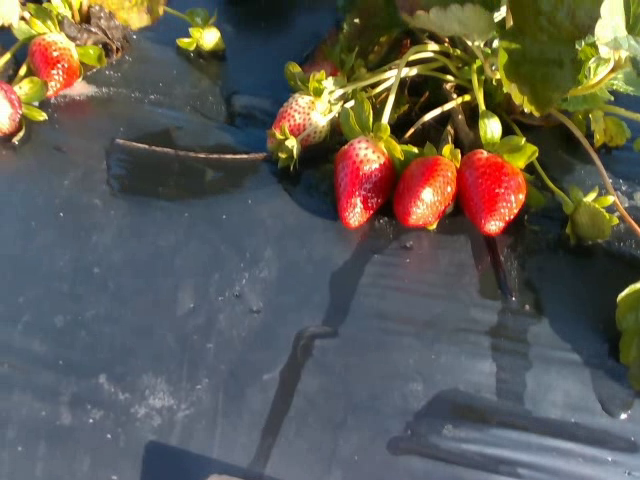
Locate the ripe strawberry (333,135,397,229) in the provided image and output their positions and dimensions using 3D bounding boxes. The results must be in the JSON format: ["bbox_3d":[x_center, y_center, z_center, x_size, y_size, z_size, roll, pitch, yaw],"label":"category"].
[{"bbox_3d":[0.018,-0.026,0.248,0.031,0.046,0.023,12,-14,9],"label":"ripe strawberry"}]

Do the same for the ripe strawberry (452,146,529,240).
[{"bbox_3d":[0.073,-0.014,0.237,0.035,0.034,0.041,8,39,8],"label":"ripe strawberry"}]

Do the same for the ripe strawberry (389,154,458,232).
[{"bbox_3d":[0.045,-0.021,0.237,0.030,0.037,0.039,23,28,8],"label":"ripe strawberry"}]
